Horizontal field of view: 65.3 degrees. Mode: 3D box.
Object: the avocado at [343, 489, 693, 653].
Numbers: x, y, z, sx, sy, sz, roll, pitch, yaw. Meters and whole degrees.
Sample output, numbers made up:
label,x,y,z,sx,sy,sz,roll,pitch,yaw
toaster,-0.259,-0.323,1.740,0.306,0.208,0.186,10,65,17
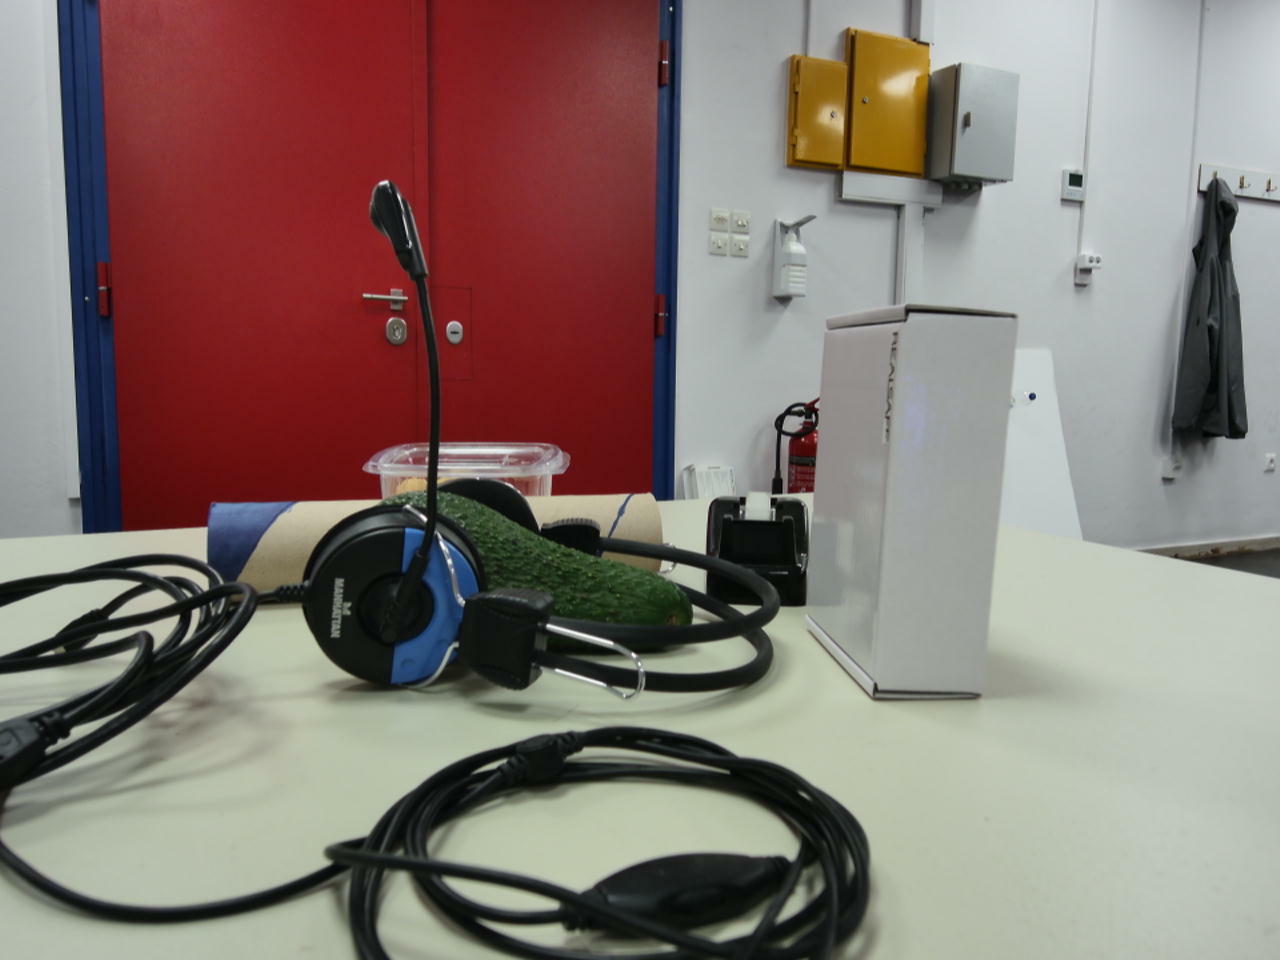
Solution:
label,x,y,z,sx,sy,sz,roll,pitch,yaw
avocado,-0.051,0.037,0.417,0.141,0.067,0.063,-1,4,-11
